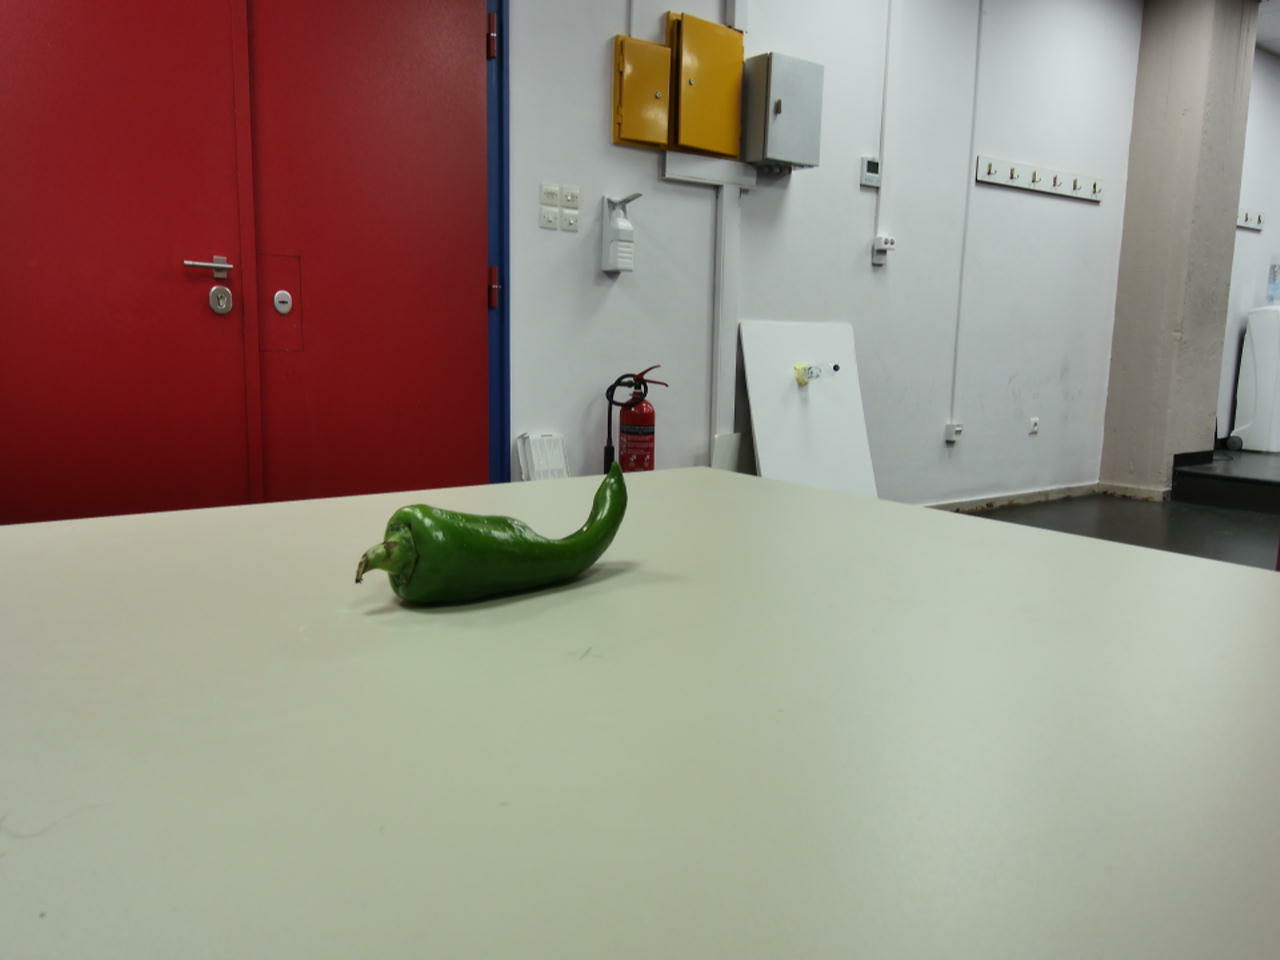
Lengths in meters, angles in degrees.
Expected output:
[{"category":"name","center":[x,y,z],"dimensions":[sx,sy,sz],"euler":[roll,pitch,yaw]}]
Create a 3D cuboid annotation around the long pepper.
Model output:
[{"category":"long pepper","center":[-0.072,0.028,0.544],"dimensions":[0.175,0.065,0.058],"euler":[-5,8,-39]}]
